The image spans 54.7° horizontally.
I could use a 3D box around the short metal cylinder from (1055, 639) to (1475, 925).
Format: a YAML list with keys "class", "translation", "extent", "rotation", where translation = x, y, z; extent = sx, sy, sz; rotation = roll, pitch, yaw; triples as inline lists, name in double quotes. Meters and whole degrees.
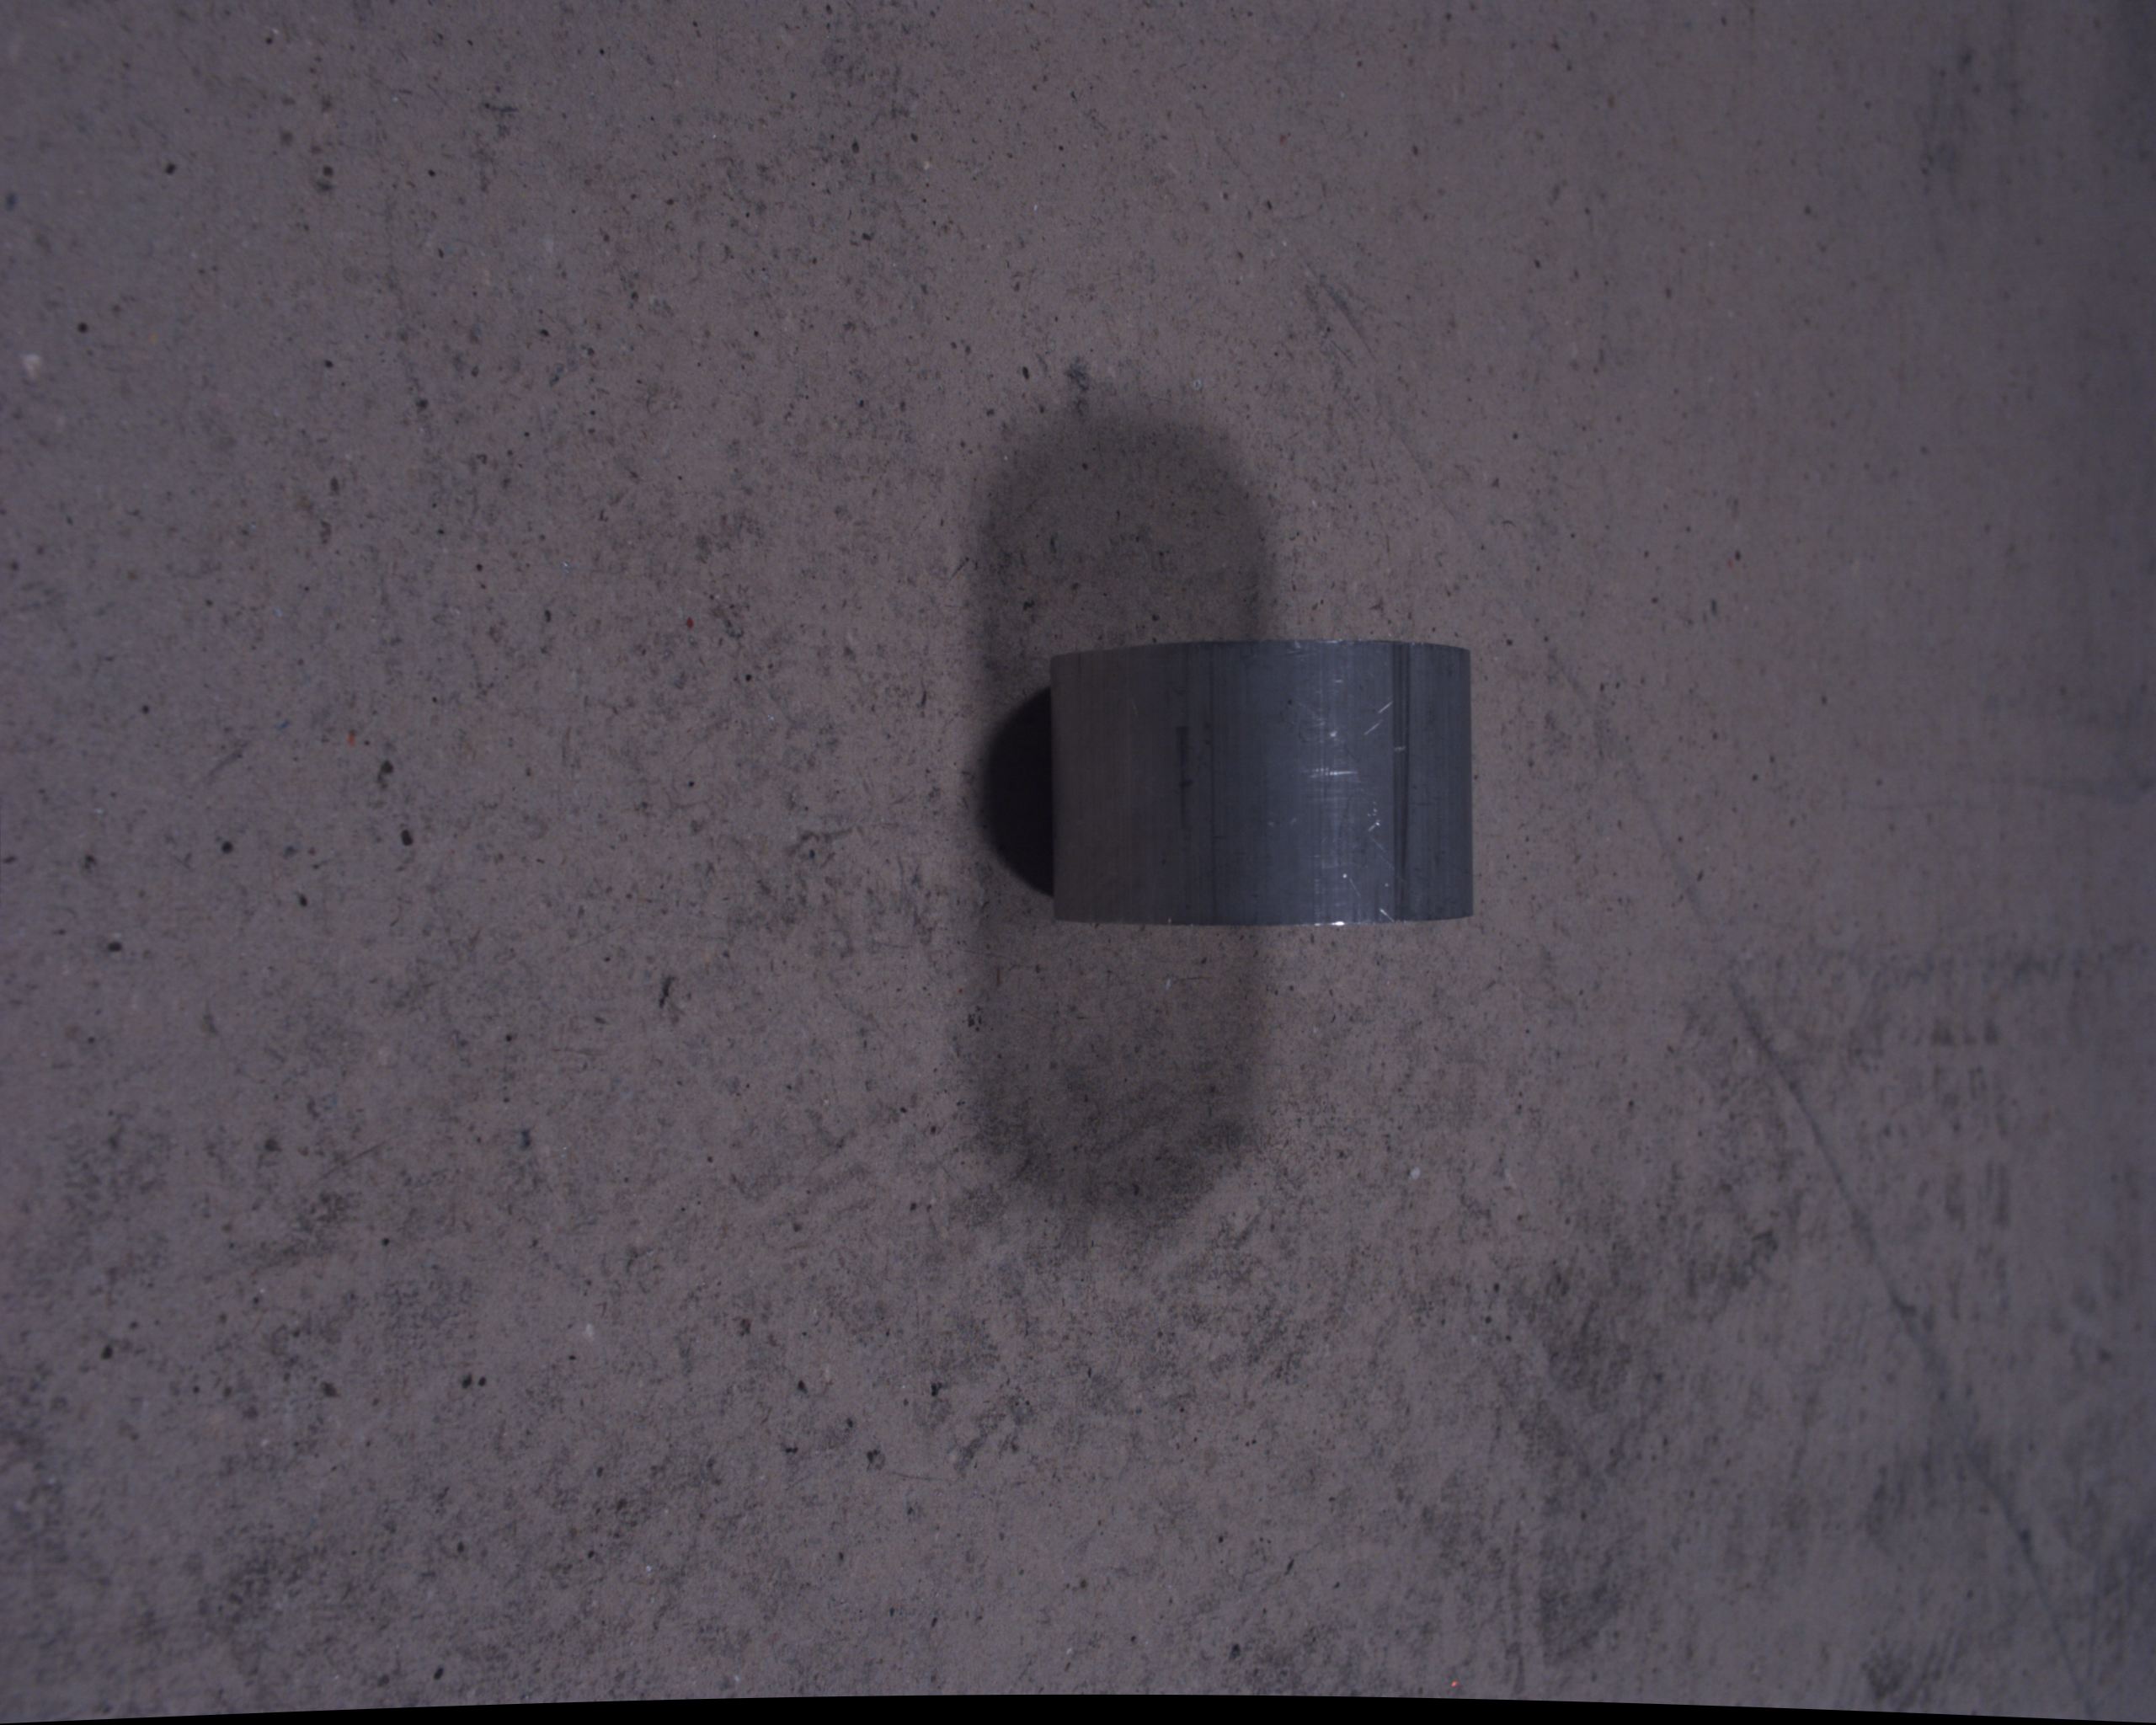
- class: "short metal cylinder"
  translation: [0.036, -0.015, 0.403]
  extent: [0.081, 0.080, 0.050]
  rotation: [-1, 91, -40]
